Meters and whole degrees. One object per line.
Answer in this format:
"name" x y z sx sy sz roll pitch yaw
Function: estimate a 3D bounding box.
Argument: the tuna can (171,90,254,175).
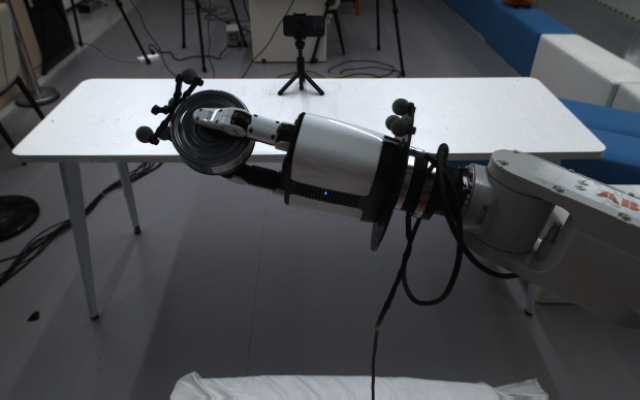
"tuna can" -0.108 -0.067 0.509 0.085 0.034 0.085 1 77 -6
